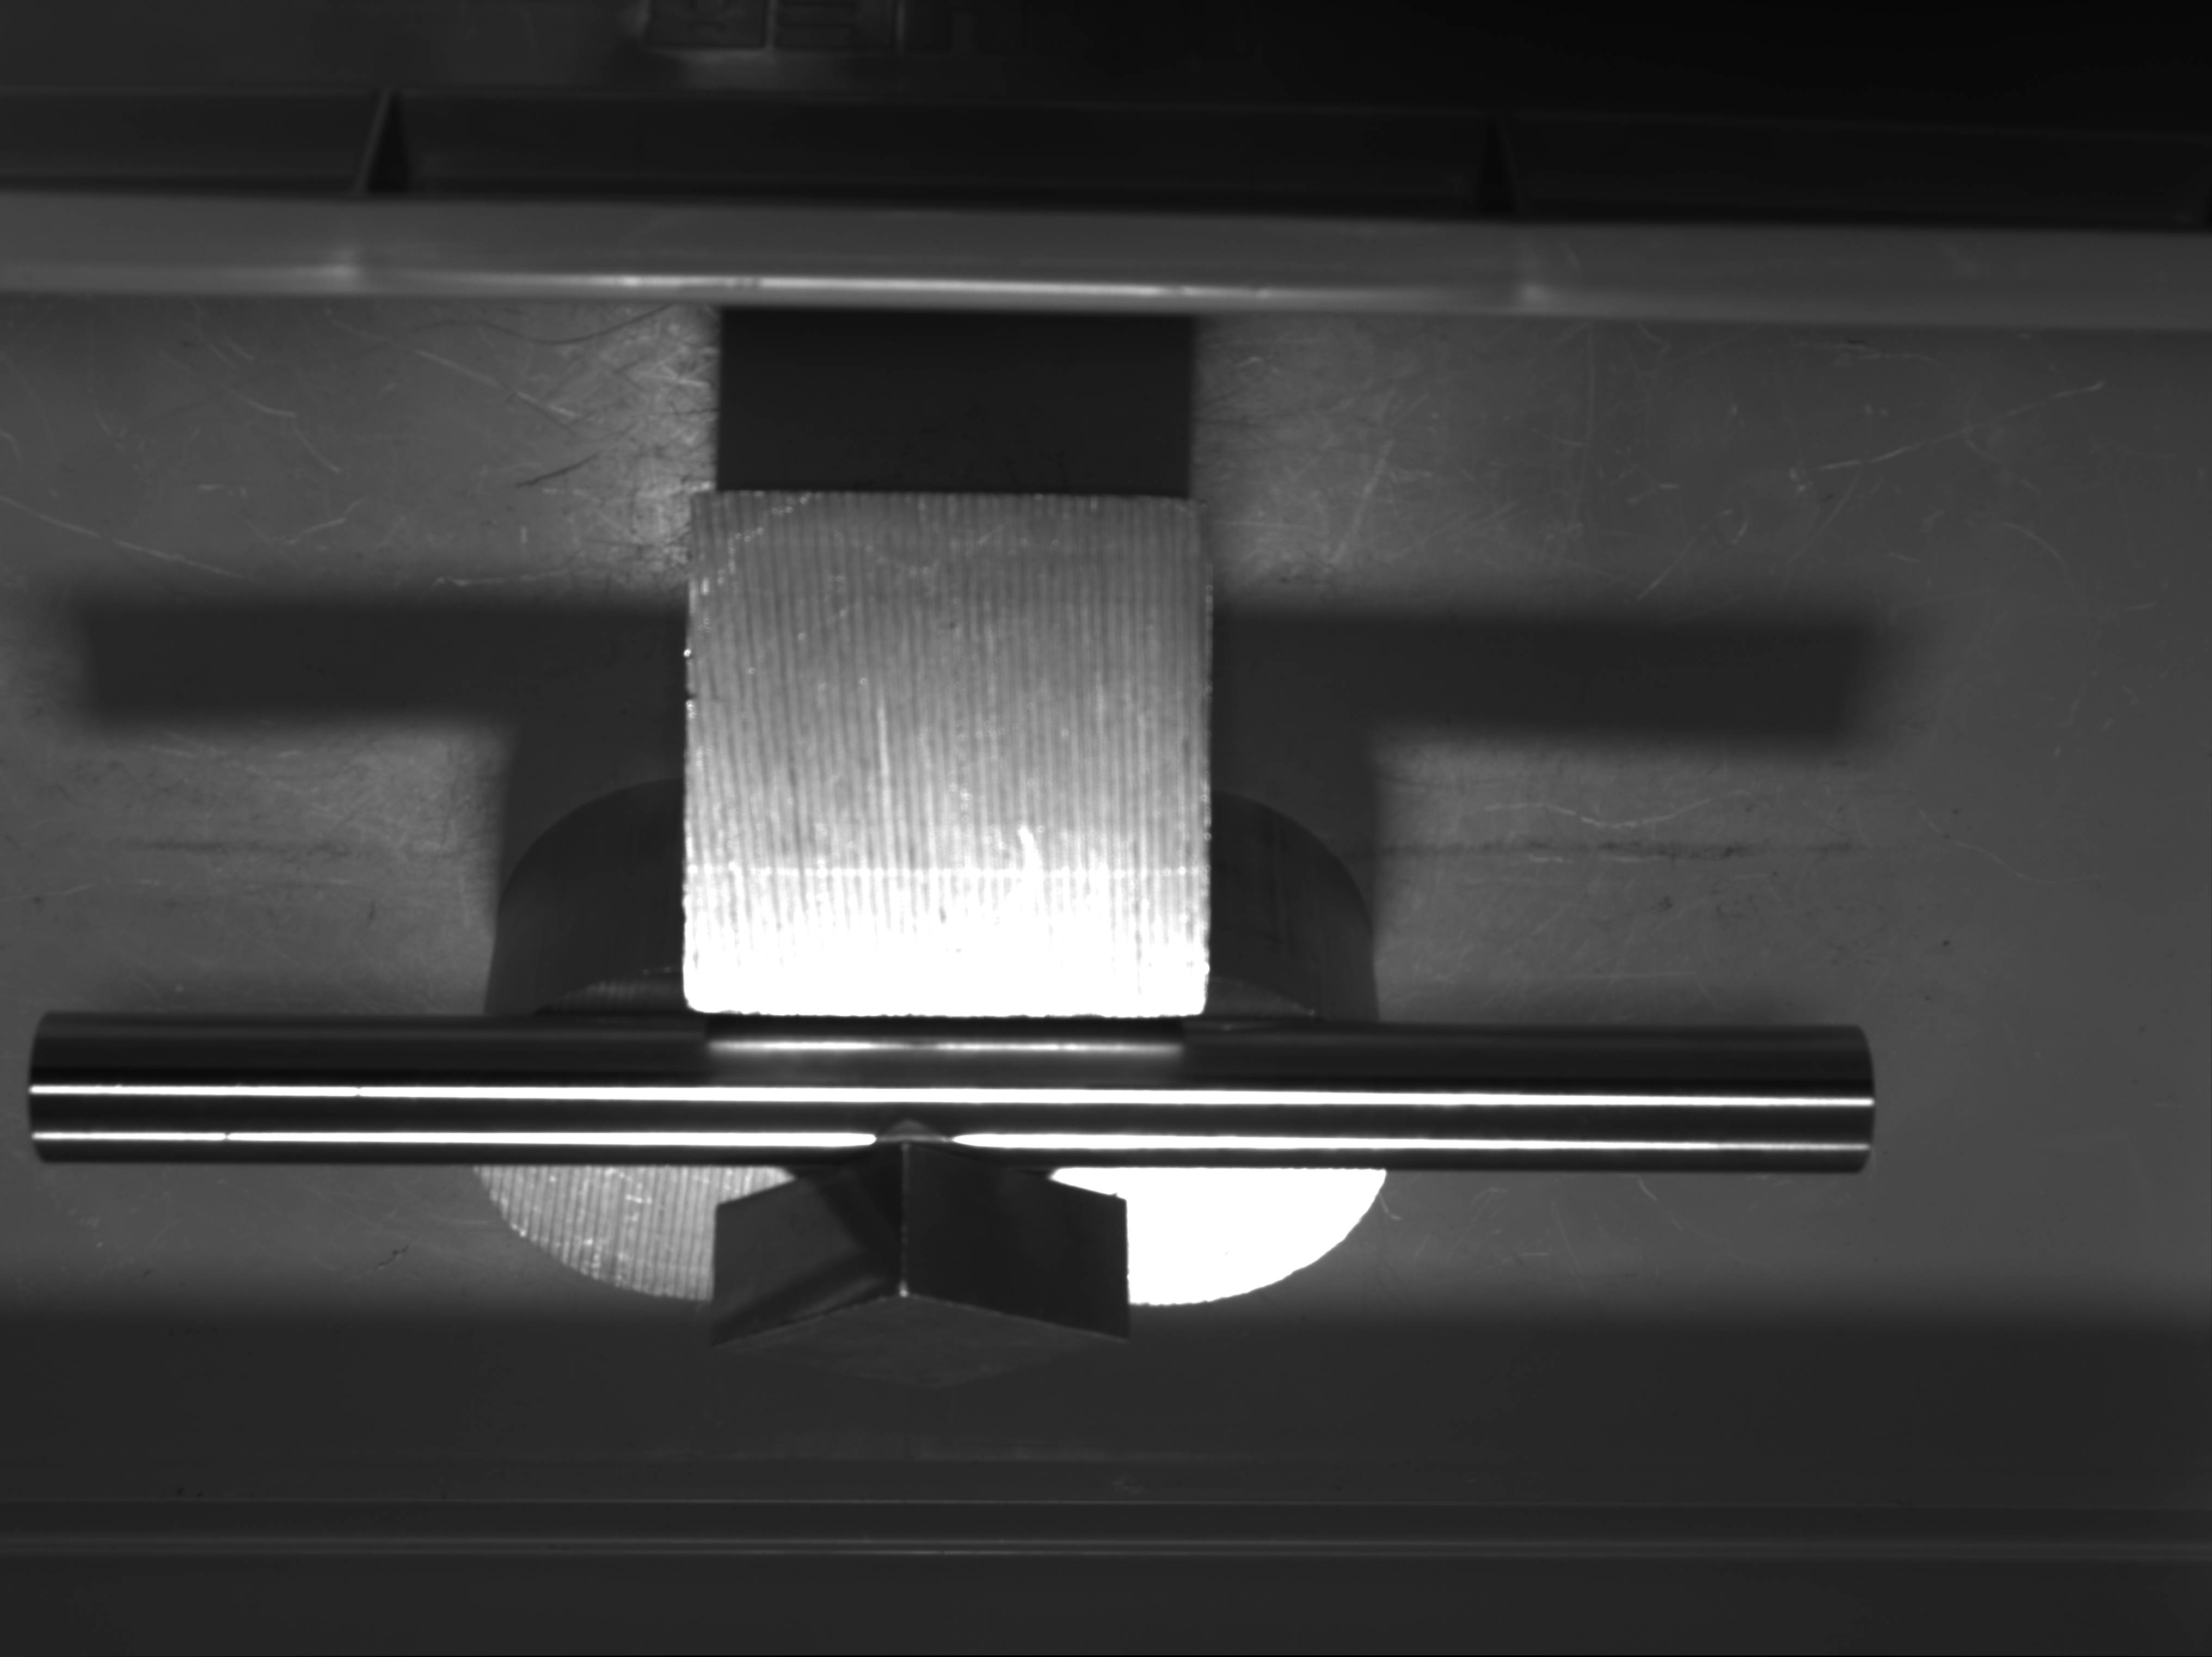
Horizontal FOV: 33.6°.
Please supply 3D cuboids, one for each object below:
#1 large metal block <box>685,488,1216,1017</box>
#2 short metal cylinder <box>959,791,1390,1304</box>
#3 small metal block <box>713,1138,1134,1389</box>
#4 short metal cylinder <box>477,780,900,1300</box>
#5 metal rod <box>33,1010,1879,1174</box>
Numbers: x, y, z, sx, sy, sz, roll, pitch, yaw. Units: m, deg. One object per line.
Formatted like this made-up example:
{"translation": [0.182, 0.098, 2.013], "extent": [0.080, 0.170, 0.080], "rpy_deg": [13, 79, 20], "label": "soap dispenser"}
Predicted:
{"translation": [-0.024, -0.010, 0.585], "extent": [0.080, 0.050, 0.080], "rpy_deg": [1, 87, -2], "label": "large metal block"}
{"translation": [0.010, 0.039, 0.654], "extent": [0.080, 0.050, 0.080], "rpy_deg": [-1, 130, -1], "label": "short metal cylinder"}
{"translation": [-0.031, 0.075, 0.619], "extent": [0.050, 0.025, 0.050], "rpy_deg": [19, 151, -40], "label": "small metal block"}
{"translation": [-0.070, 0.038, 0.650], "extent": [0.080, 0.050, 0.080], "rpy_deg": [-1, 130, -1], "label": "short metal cylinder"}
{"translation": [-0.023, 0.044, 0.608], "extent": [0.300, 0.025, 0.025], "rpy_deg": [1, 130, -2], "label": "metal rod"}
